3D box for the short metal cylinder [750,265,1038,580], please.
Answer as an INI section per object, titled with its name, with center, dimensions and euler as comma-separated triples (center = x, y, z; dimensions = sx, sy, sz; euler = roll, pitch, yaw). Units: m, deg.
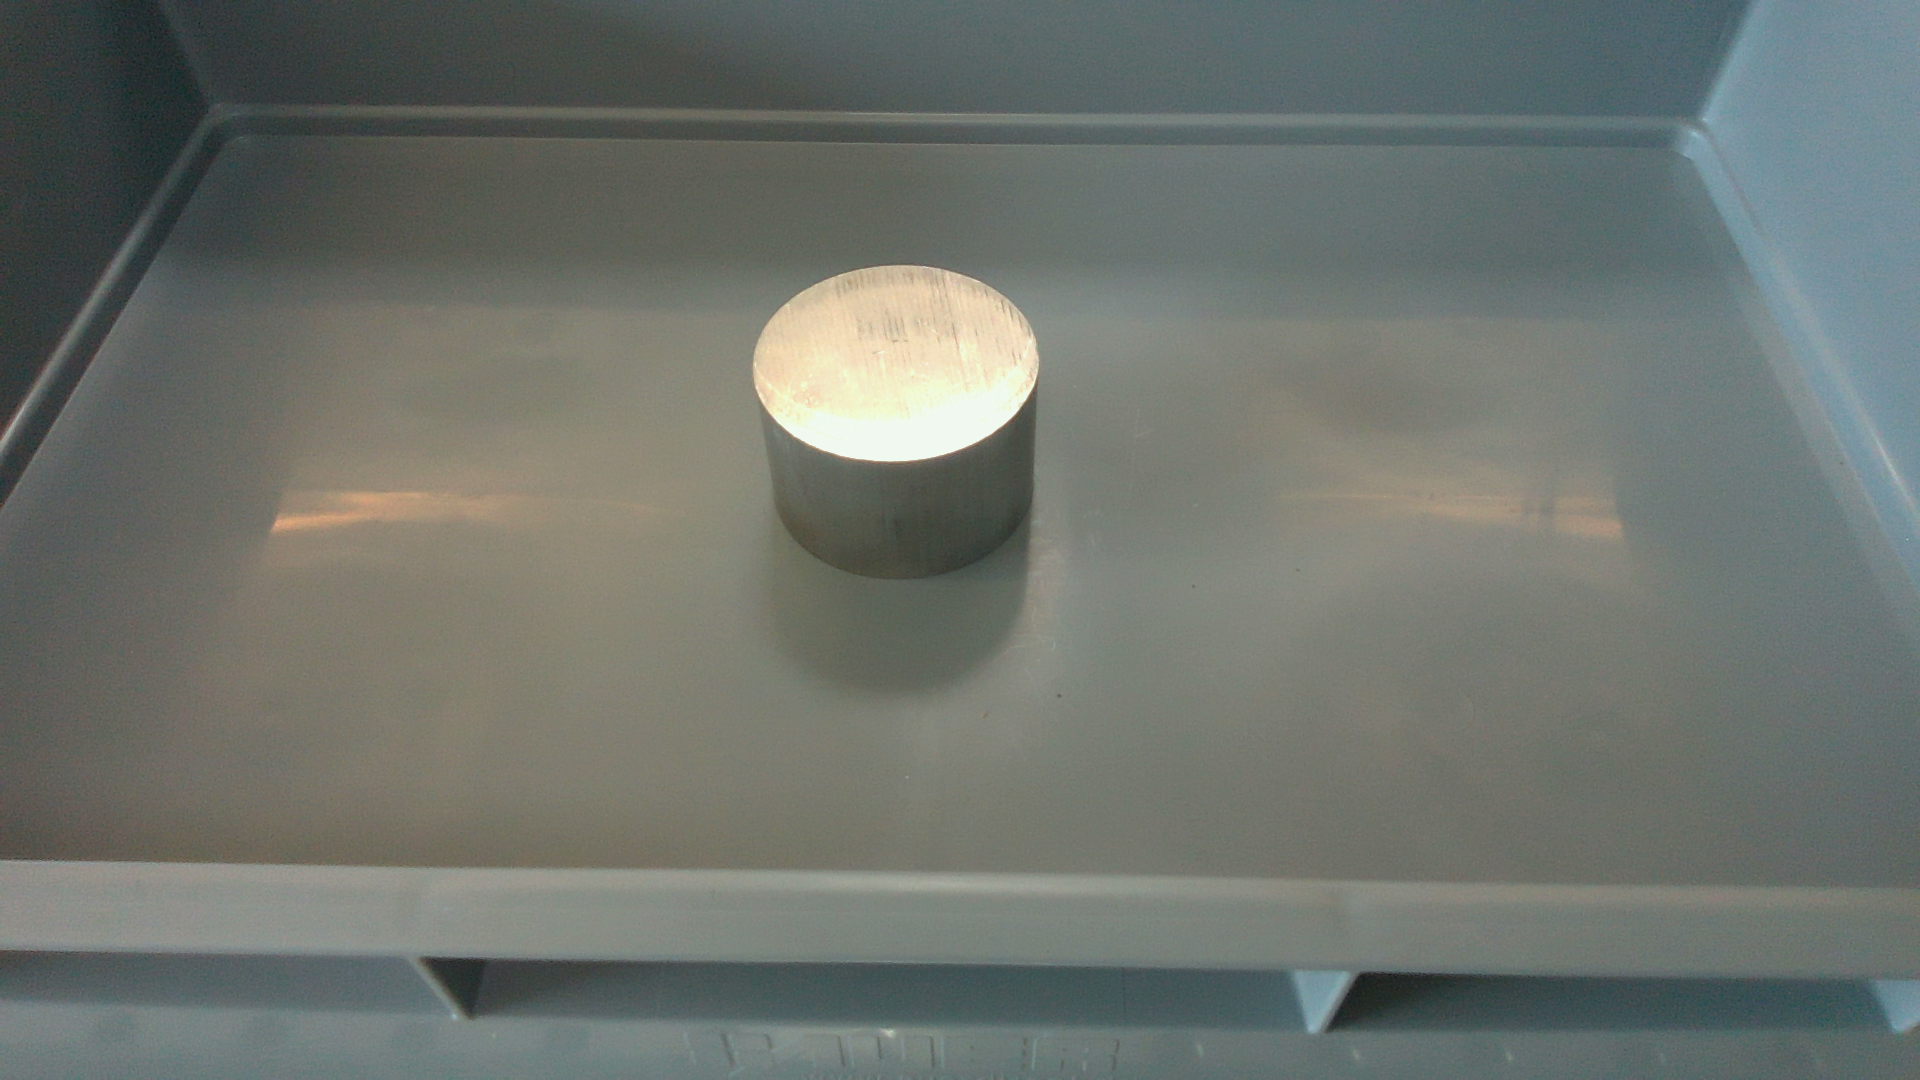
[short metal cylinder]
center = -0.018, -0.035, 0.402
dimensions = 0.080, 0.050, 0.080
euler = 0, 50, 0
